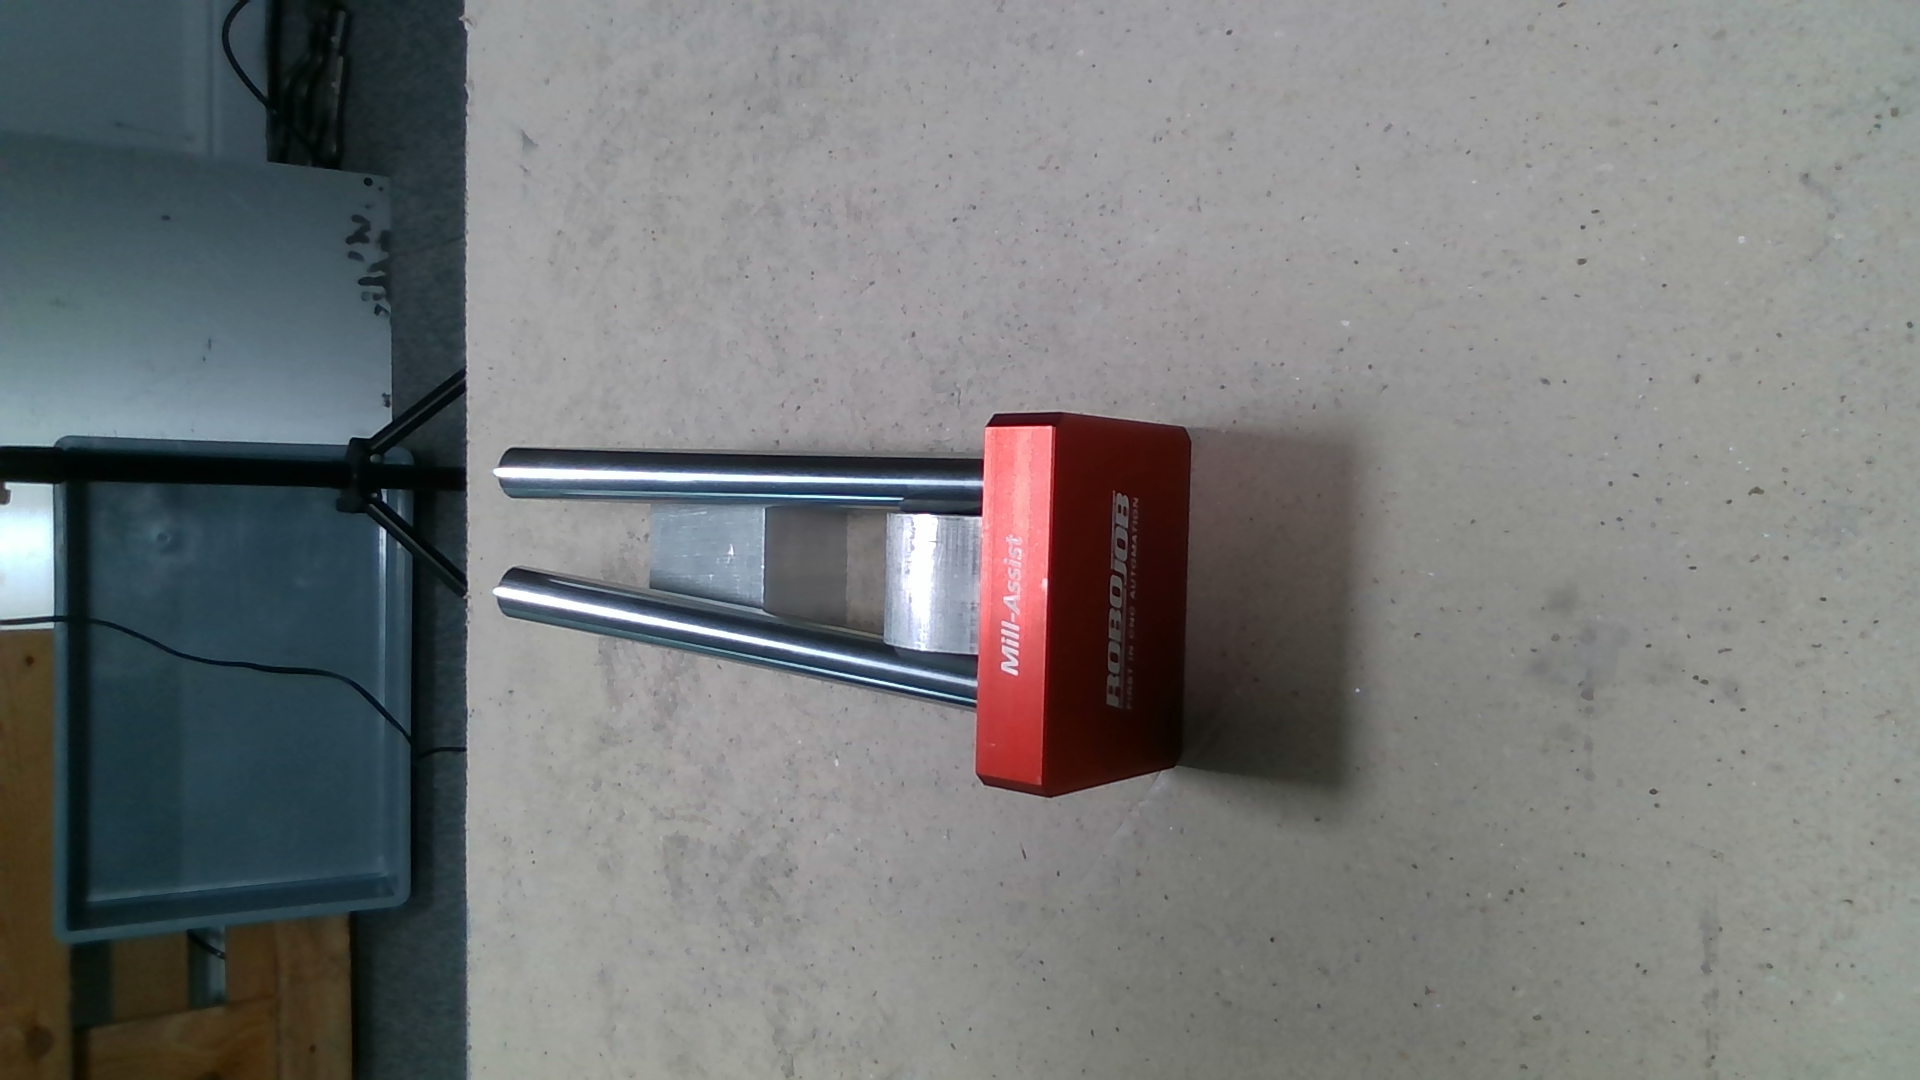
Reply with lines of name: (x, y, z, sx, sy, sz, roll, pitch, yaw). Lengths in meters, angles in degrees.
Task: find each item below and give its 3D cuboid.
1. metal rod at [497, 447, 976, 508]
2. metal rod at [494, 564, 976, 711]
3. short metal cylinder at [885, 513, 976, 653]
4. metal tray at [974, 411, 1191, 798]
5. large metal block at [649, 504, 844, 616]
metal rod: (-0.073, -0.027, 0.584, 0.300, 0.025, 0.025, 2, 92, 25)
metal rod: (-0.076, 0.044, 0.586, 0.300, 0.025, 0.025, 9, 96, 25)
short metal cylinder: (0.010, 0.015, 0.538, 0.080, 0.080, 0.050, 2, 92, 40)
metal tray: (0.046, 0.021, 0.500, 0.030, 0.090, 0.130, 3, 92, 40)
large metal block: (-0.101, 0.008, 0.649, 0.080, 0.050, 0.080, 2, 92, 40)
